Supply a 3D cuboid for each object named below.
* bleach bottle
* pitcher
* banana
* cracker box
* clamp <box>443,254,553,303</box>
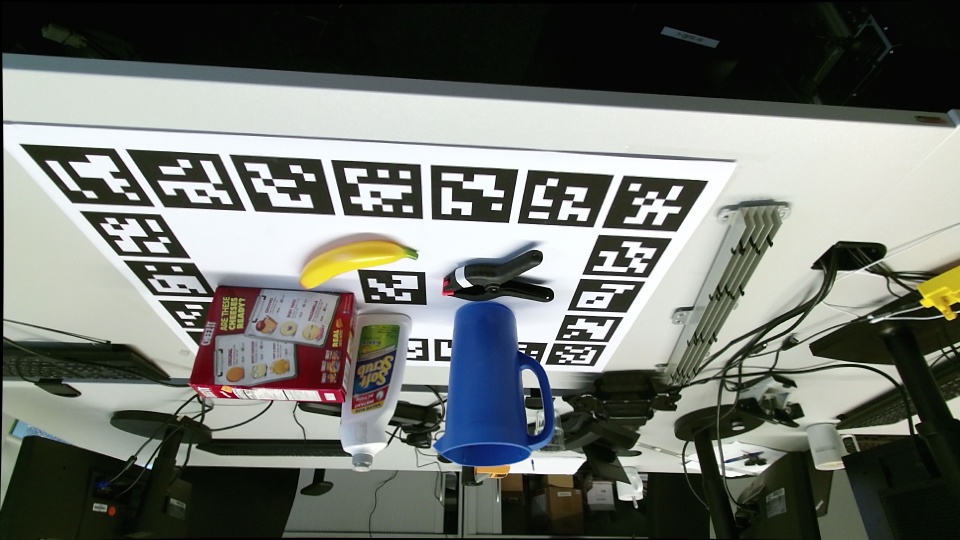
[{"bbox_3d":[-0.166,0.195,0.894,0.103,0.249,0.068,2,147,-4],"label":"bleach bottle"},{"bbox_3d":[0.024,0.197,0.862,0.189,0.241,0.133,-6,147,14],"label":"pitcher"},{"bbox_3d":[-0.195,-0.008,0.788,0.198,0.038,0.074,-17,143,24],"label":"banana"},{"bbox_3d":[-0.315,0.124,0.836,0.214,0.163,0.072,2,149,-6],"label":"cracker box"},{"bbox_3d":[0.024,0.021,0.819,0.166,0.036,0.122,-5,148,11],"label":"clamp"}]
